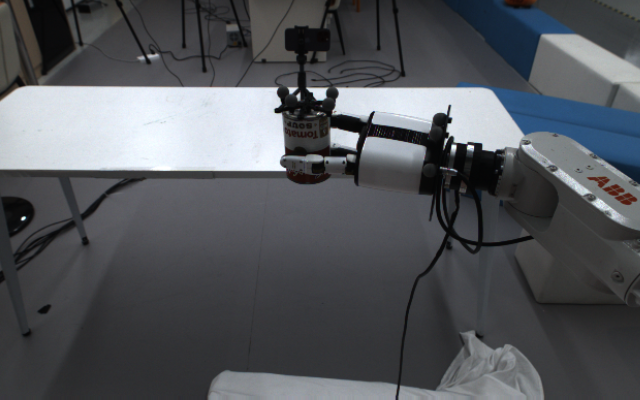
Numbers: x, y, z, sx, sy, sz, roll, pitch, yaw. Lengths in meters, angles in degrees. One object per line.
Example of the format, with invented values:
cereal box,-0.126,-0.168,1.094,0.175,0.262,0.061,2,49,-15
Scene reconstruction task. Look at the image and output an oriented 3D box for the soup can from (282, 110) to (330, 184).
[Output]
soup can,-0.017,-0.083,0.690,0.067,0.101,0.067,-2,34,1
